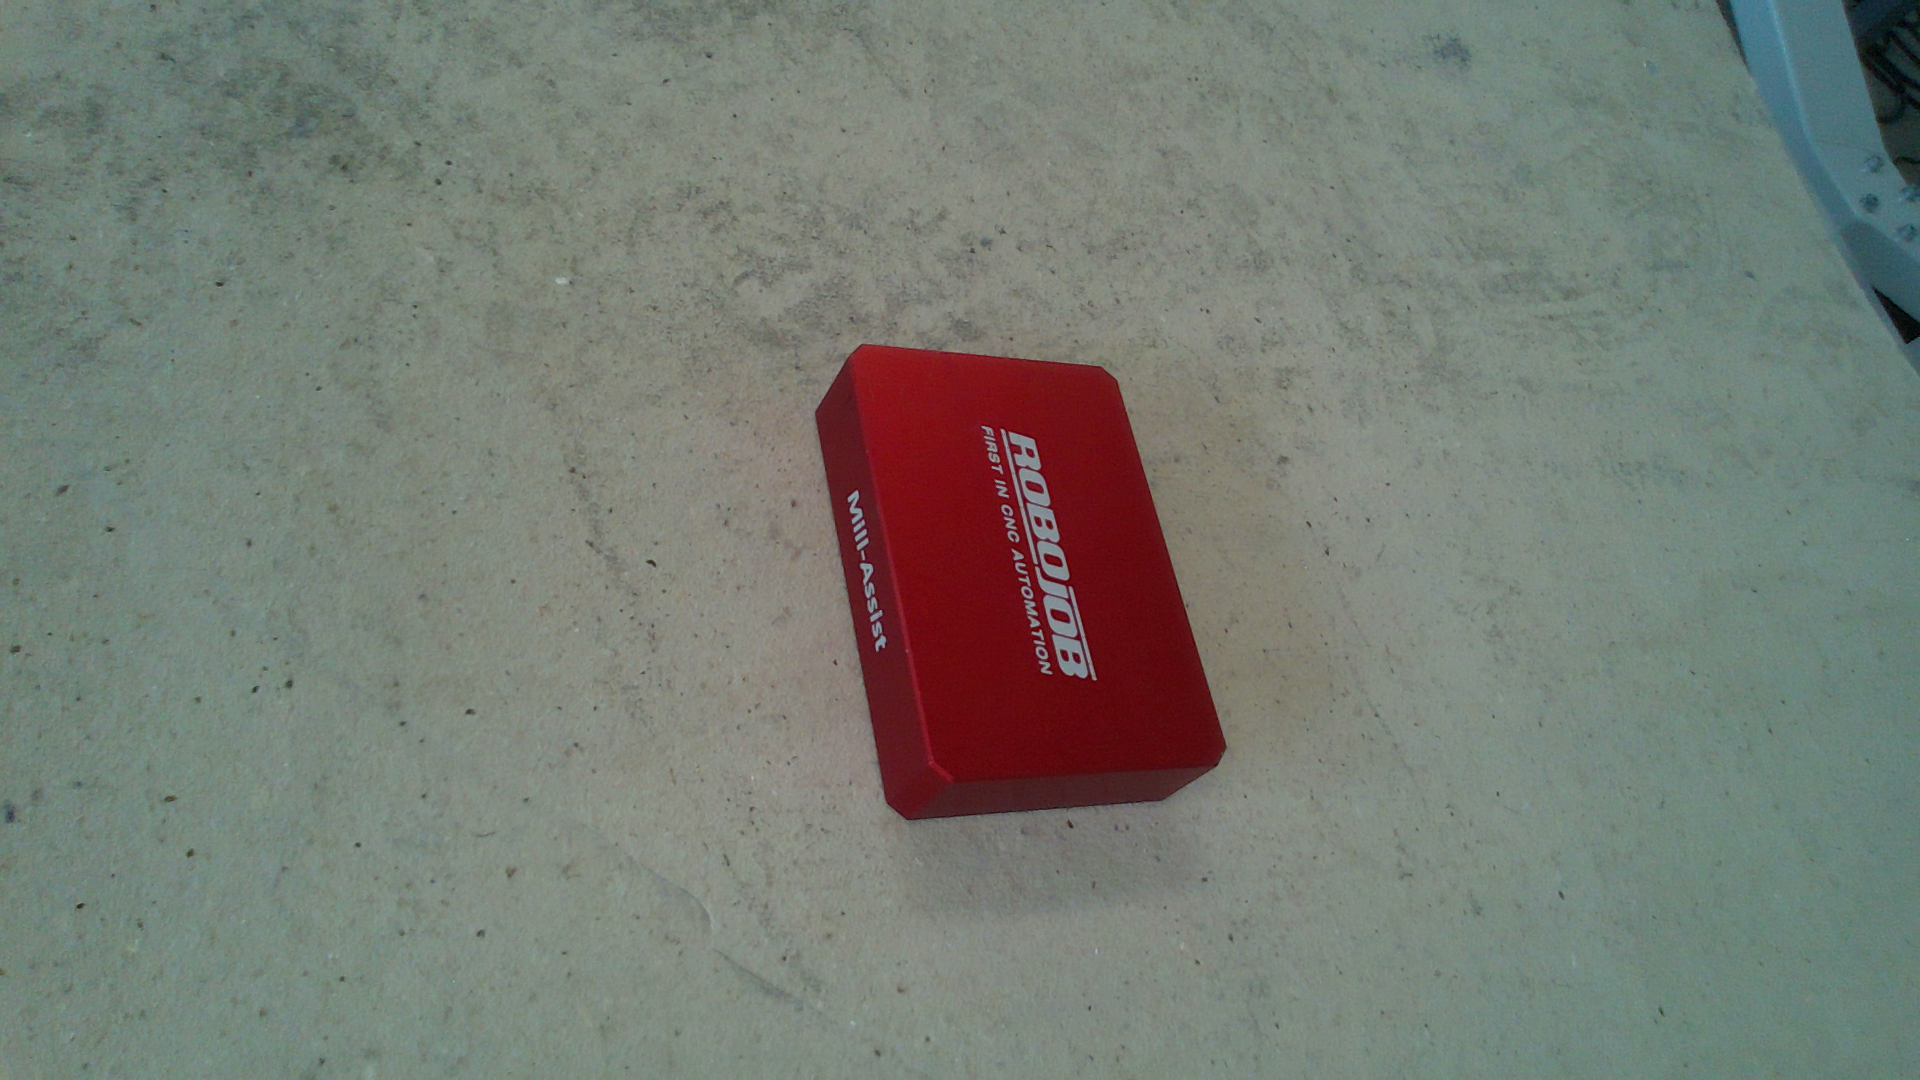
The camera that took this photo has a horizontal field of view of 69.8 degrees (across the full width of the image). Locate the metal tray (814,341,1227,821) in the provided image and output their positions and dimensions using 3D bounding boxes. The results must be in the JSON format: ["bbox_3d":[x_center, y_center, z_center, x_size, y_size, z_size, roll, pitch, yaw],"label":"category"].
[{"bbox_3d":[0.015,0.009,0.388,0.090,0.030,0.130,2,61,-28],"label":"metal tray"}]
